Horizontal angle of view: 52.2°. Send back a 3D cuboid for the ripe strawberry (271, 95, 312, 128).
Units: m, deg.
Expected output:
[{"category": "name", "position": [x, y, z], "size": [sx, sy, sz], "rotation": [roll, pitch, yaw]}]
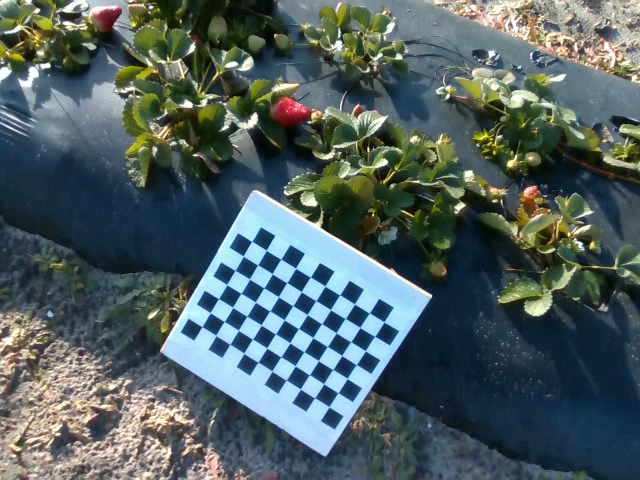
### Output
[{"category": "ripe strawberry", "position": [-0.048, -0.205, 0.992], "size": [0.072, 0.056, 0.055], "rotation": [8, 8, 17]}]
